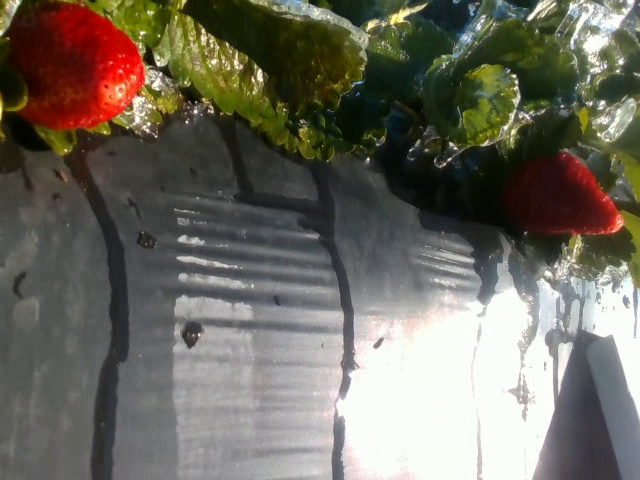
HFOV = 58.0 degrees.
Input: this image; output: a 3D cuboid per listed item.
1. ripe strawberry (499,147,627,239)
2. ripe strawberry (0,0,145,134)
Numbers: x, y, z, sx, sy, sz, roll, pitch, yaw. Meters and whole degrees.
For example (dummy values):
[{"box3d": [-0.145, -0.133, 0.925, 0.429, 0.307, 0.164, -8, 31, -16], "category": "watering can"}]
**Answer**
[{"box3d": [0.107, -0.016, 0.244, 0.041, 0.047, 0.053, 9, 20, -28], "category": "ripe strawberry"}, {"box3d": [-0.065, -0.045, 0.153, 0.037, 0.040, 0.051, 1, 15, -31], "category": "ripe strawberry"}]
